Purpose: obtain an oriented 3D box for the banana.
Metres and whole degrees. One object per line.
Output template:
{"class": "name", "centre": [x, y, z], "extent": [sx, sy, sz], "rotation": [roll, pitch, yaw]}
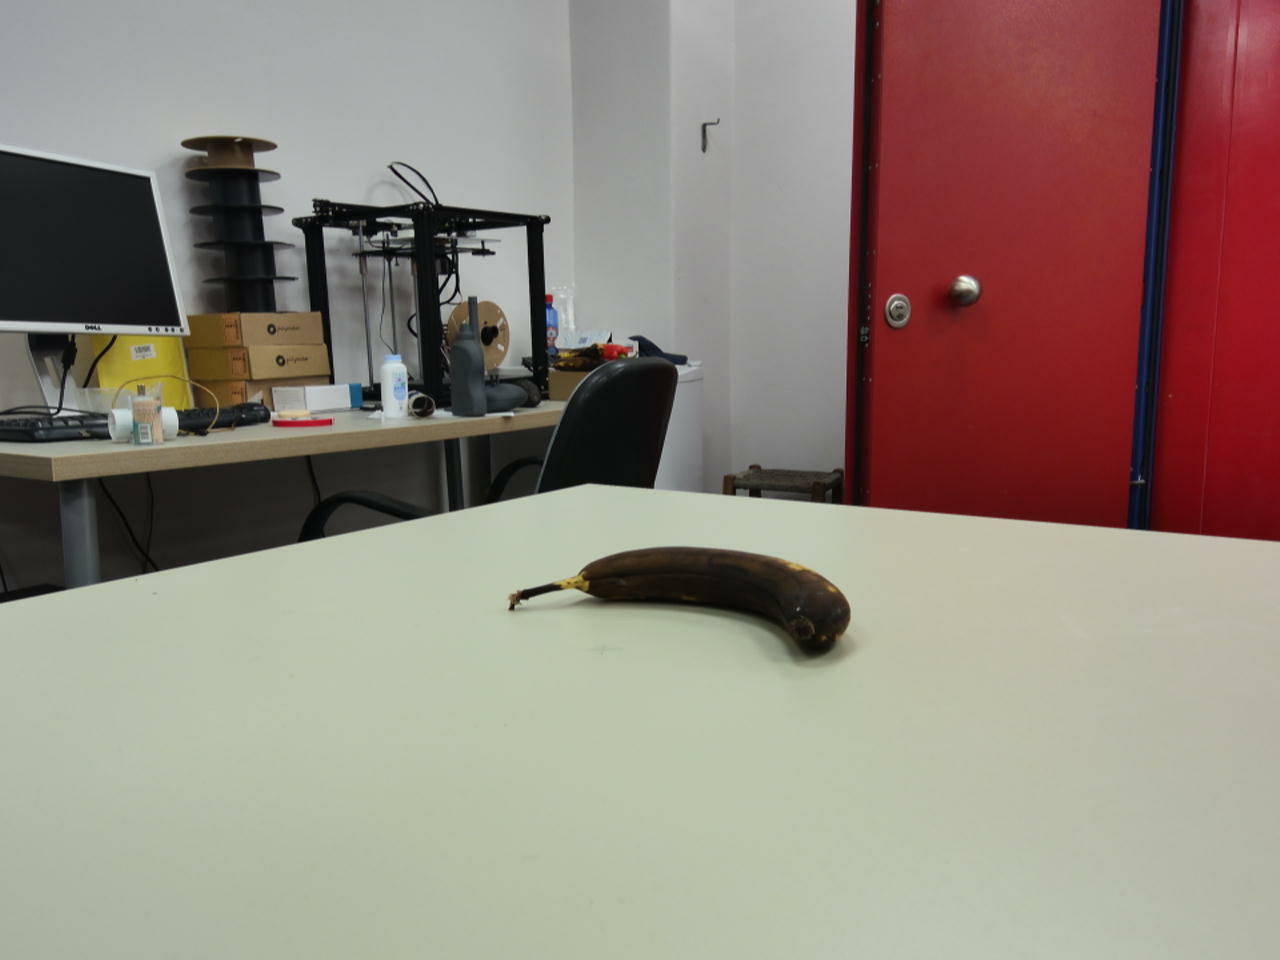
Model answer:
{"class": "banana", "centre": [0.030, 0.056, 0.533], "extent": [0.188, 0.033, 0.091], "rotation": [5, 7, 37]}
